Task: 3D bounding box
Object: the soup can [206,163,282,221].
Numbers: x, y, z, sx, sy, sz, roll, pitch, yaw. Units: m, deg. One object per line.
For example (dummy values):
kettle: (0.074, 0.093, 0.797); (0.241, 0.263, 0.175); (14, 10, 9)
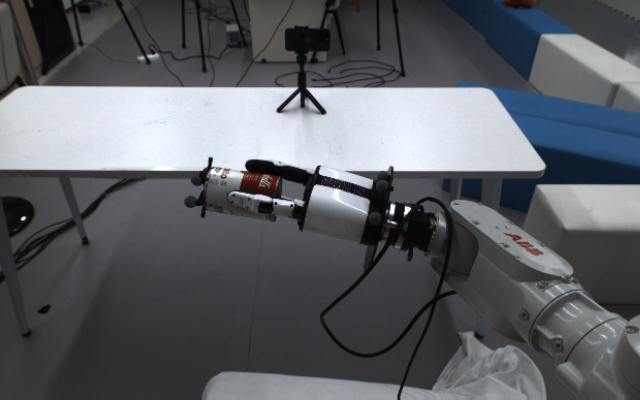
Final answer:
soup can: (-0.109, -0.008, 0.705); (0.101, 0.067, 0.067); (8, 35, 2)
